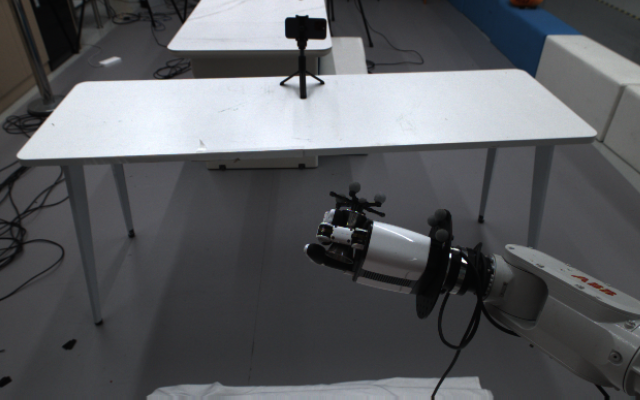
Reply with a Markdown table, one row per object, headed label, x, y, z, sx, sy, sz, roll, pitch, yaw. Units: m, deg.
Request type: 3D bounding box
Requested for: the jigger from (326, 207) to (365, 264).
| label | x | y | z | sx | sy | sz | roll | pitch | yaw |
| --- | --- | --- | --- | --- | --- | --- | --- | --- | --- |
| jigger | 0.040 | 0.050 | 0.696 | 0.043 | 0.043 | 0.071 | 15 | 70 | 18 |
